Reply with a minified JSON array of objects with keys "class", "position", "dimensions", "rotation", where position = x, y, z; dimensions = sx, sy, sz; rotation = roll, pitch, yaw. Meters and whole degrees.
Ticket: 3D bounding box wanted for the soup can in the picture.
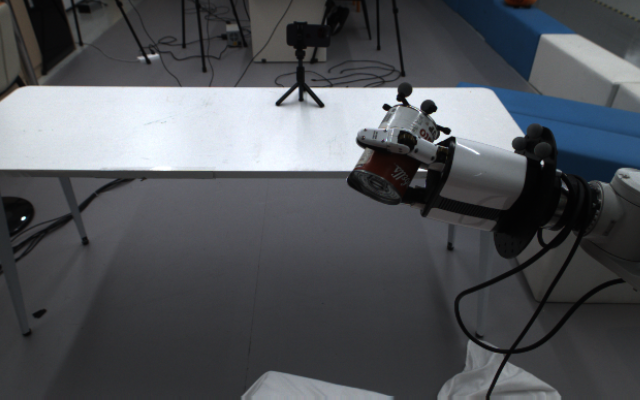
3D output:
[{"class":"soup can","position":[0.090,-0.054,0.574],"dimensions":[0.067,0.067,0.101],"rotation":[22,71,27]}]
